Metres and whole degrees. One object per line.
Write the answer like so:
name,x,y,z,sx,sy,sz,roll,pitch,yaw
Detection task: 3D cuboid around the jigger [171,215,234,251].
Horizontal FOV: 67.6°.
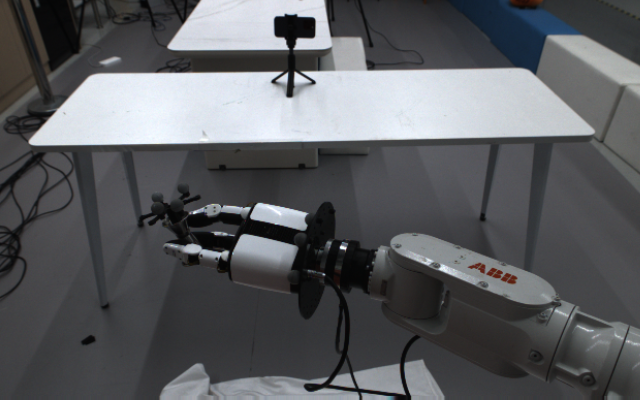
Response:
jigger,-0.188,0.053,0.694,0.043,0.071,0.043,-18,24,8
